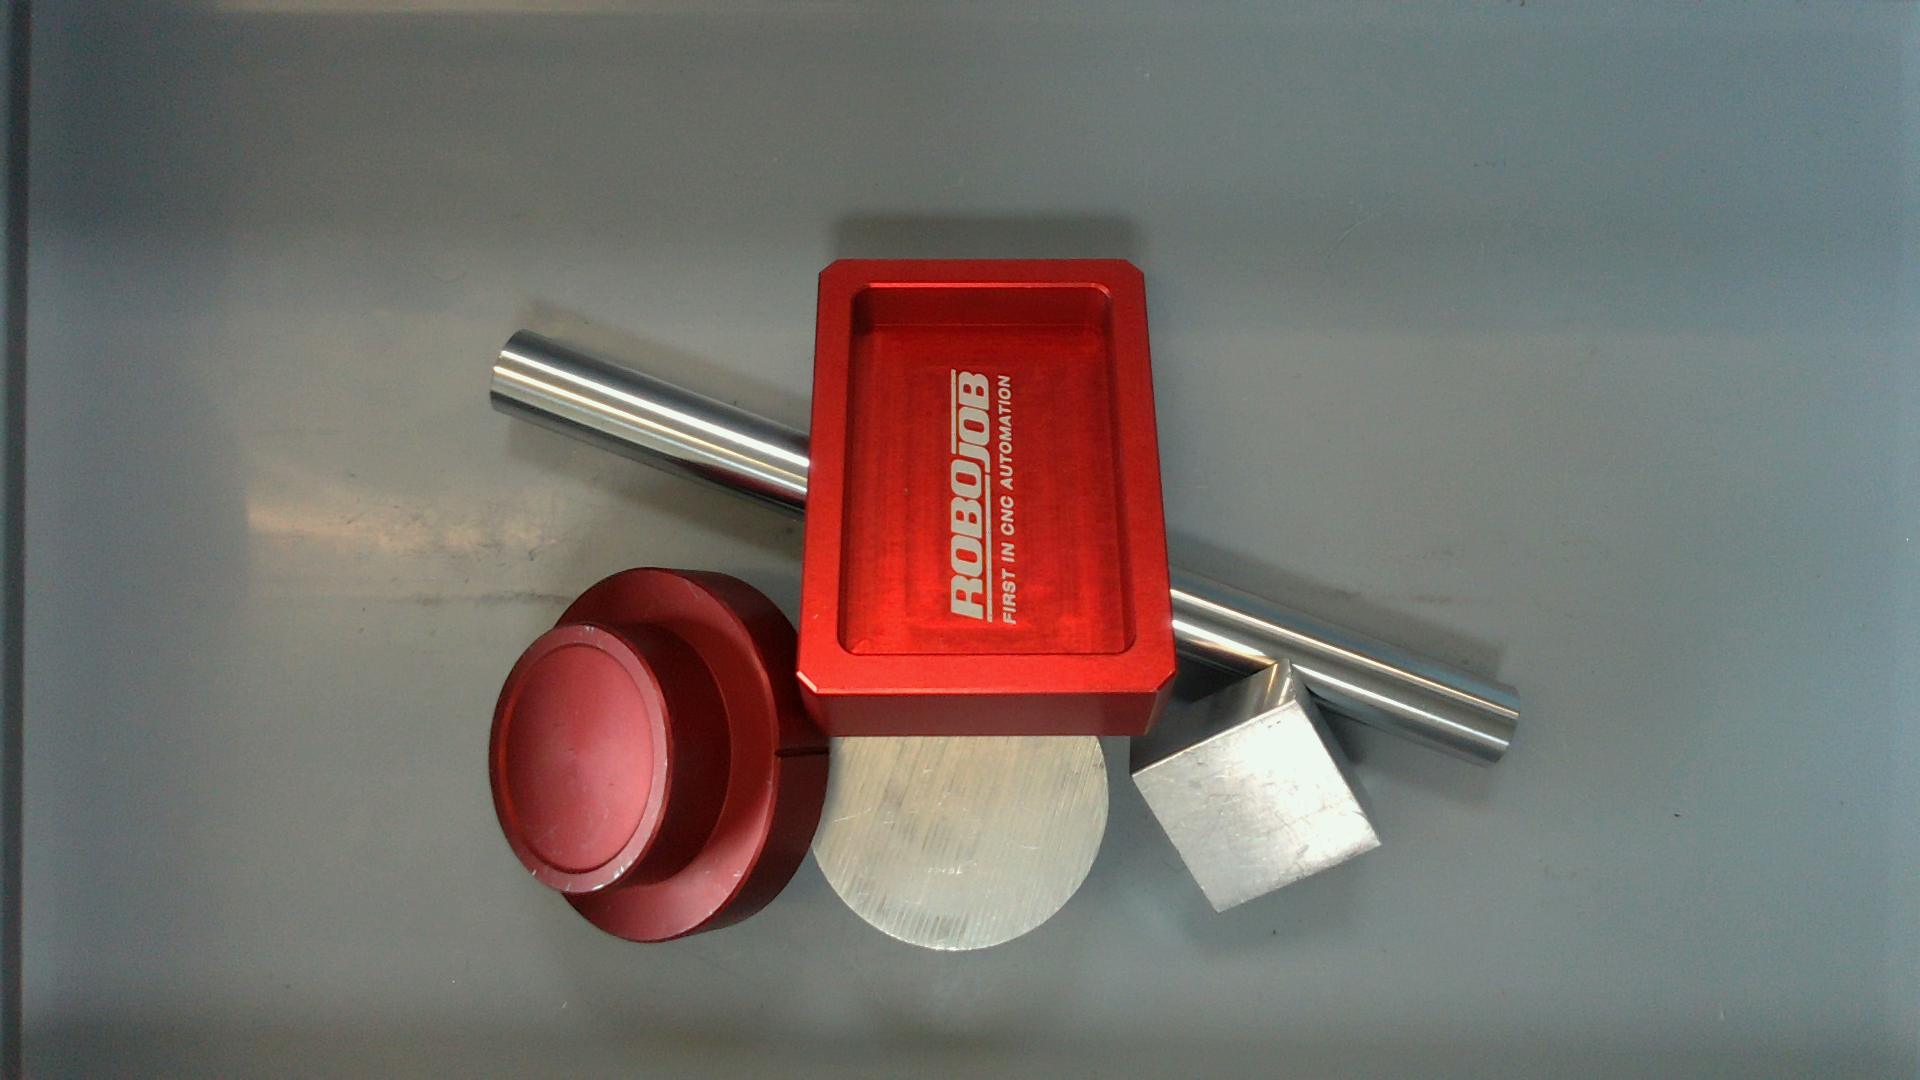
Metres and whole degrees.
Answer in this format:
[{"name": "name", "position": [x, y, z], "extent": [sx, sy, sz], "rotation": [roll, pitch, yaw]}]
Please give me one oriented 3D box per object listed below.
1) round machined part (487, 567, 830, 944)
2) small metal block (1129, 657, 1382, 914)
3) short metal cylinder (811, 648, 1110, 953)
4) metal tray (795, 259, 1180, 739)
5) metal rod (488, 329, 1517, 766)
[{"name": "round machined part", "position": [-0.085, 0.056, 0.362], "extent": [0.098, 0.042, 0.098], "rotation": [-3, 84, 33]}, {"name": "small metal block", "position": [0.081, 0.069, 0.384], "extent": [0.050, 0.025, 0.050], "rotation": [-28, 106, 16]}, {"name": "short metal cylinder", "position": [-0.001, 0.067, 0.382], "extent": [0.080, 0.050, 0.080], "rotation": [0, 90, 0]}, {"name": "metal tray", "position": [0.006, -0.014, 0.362], "extent": [0.090, 0.030, 0.130], "rotation": [0, 61, -1]}, {"name": "metal rod", "position": [0.012, 0.002, 0.394], "extent": [0.300, 0.025, 0.025], "rotation": [20, 90, 0]}]
